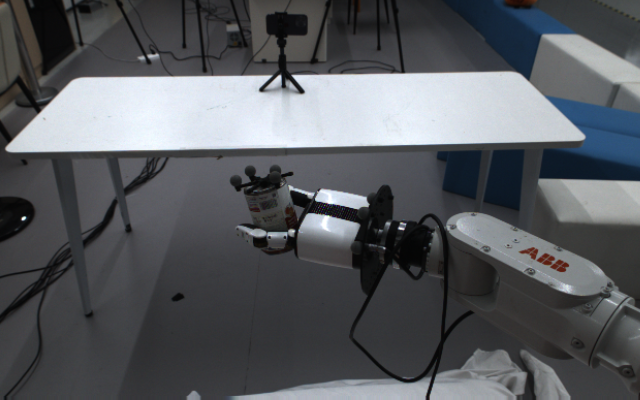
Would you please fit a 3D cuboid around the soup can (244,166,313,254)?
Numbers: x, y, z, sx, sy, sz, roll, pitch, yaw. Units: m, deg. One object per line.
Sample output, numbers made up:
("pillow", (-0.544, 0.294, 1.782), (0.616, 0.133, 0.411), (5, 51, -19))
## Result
("soup can", (-0.069, 0.023, 0.727), (0.067, 0.101, 0.067), (-13, 20, 5))
